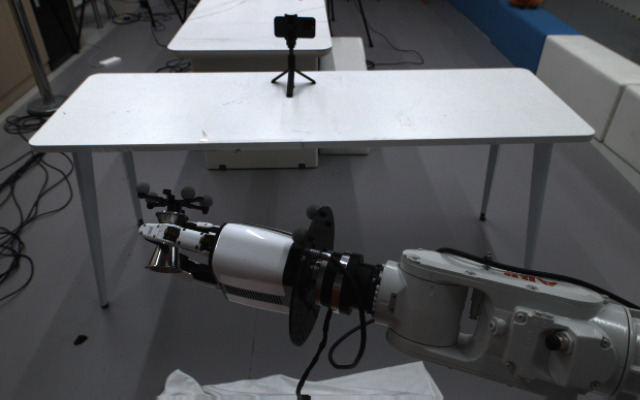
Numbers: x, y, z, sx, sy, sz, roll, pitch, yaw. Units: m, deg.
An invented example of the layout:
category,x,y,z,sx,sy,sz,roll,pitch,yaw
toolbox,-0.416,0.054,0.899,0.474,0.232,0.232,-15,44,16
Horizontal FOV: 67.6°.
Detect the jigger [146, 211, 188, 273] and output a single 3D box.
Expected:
category,x,y,z,sx,sy,sz,roll,pitch,yaw
jigger,-0.184,0.051,0.586,0.043,0.043,0.071,3,72,1
